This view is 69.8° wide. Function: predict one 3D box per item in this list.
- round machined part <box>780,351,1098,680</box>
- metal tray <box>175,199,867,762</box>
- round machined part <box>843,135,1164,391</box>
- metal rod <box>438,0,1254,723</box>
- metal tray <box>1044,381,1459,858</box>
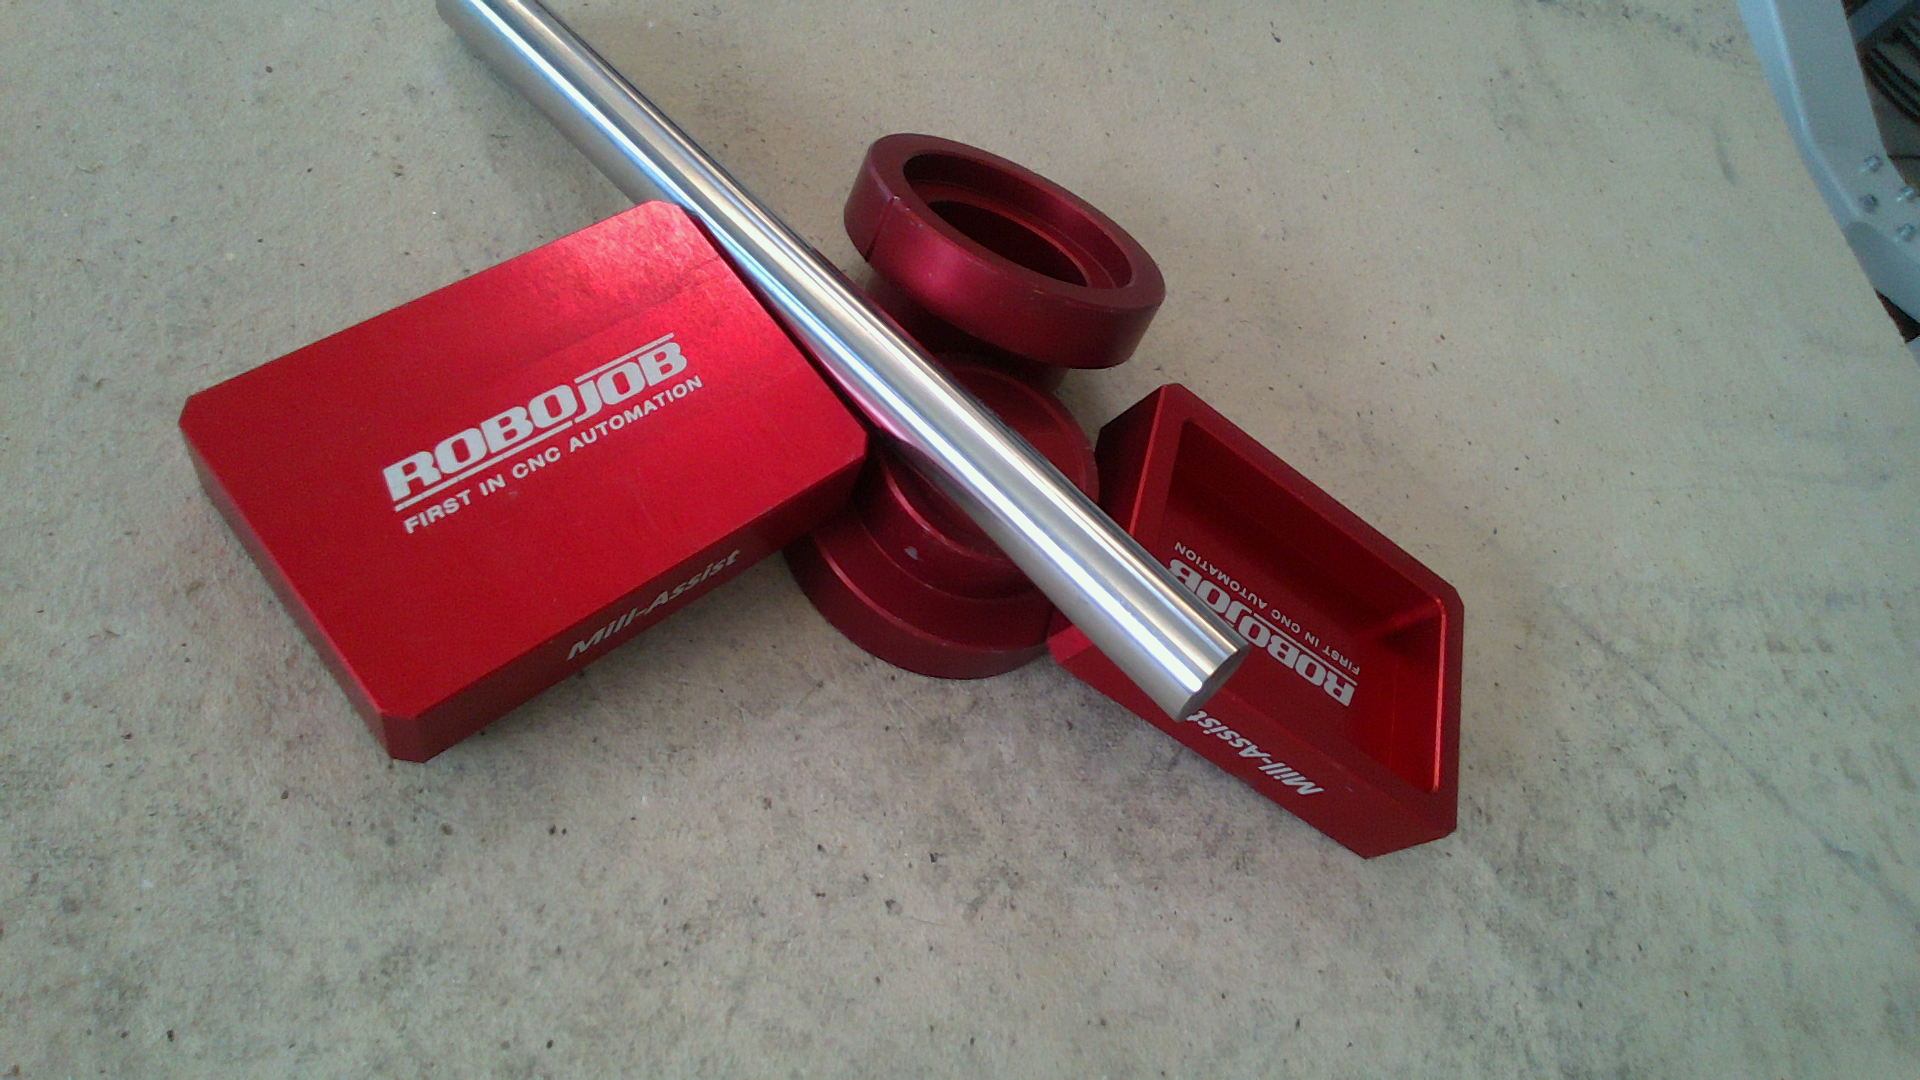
[{"bbox_3d":[-0.001,-0.014,0.388,0.098,0.042,0.098,14,56,-21],"label":"round machined part"},{"bbox_3d":[-0.100,-0.020,0.331,0.130,0.030,0.090,-33,77,-29],"label":"metal tray"},{"bbox_3d":[0.009,-0.080,0.419,0.098,0.042,0.098,20,32,-13],"label":"round machined part"},{"bbox_3d":[-0.043,-0.065,0.364,0.299,0.025,0.025,44,50,19],"label":"metal rod"},{"bbox_3d":[0.092,0.024,0.407,0.130,0.030,0.090,33,50,-20],"label":"metal tray"}]
